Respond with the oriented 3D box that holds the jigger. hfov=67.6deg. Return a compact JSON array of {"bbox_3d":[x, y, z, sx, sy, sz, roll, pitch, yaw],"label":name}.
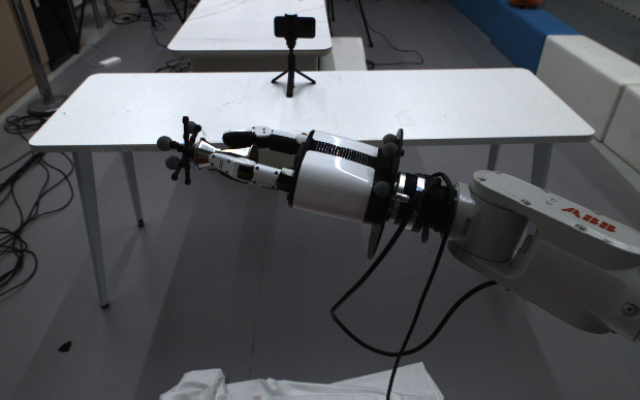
[{"bbox_3d":[-0.109,-0.058,0.594,0.071,0.043,0.043,7,35,6],"label":"jigger"}]
